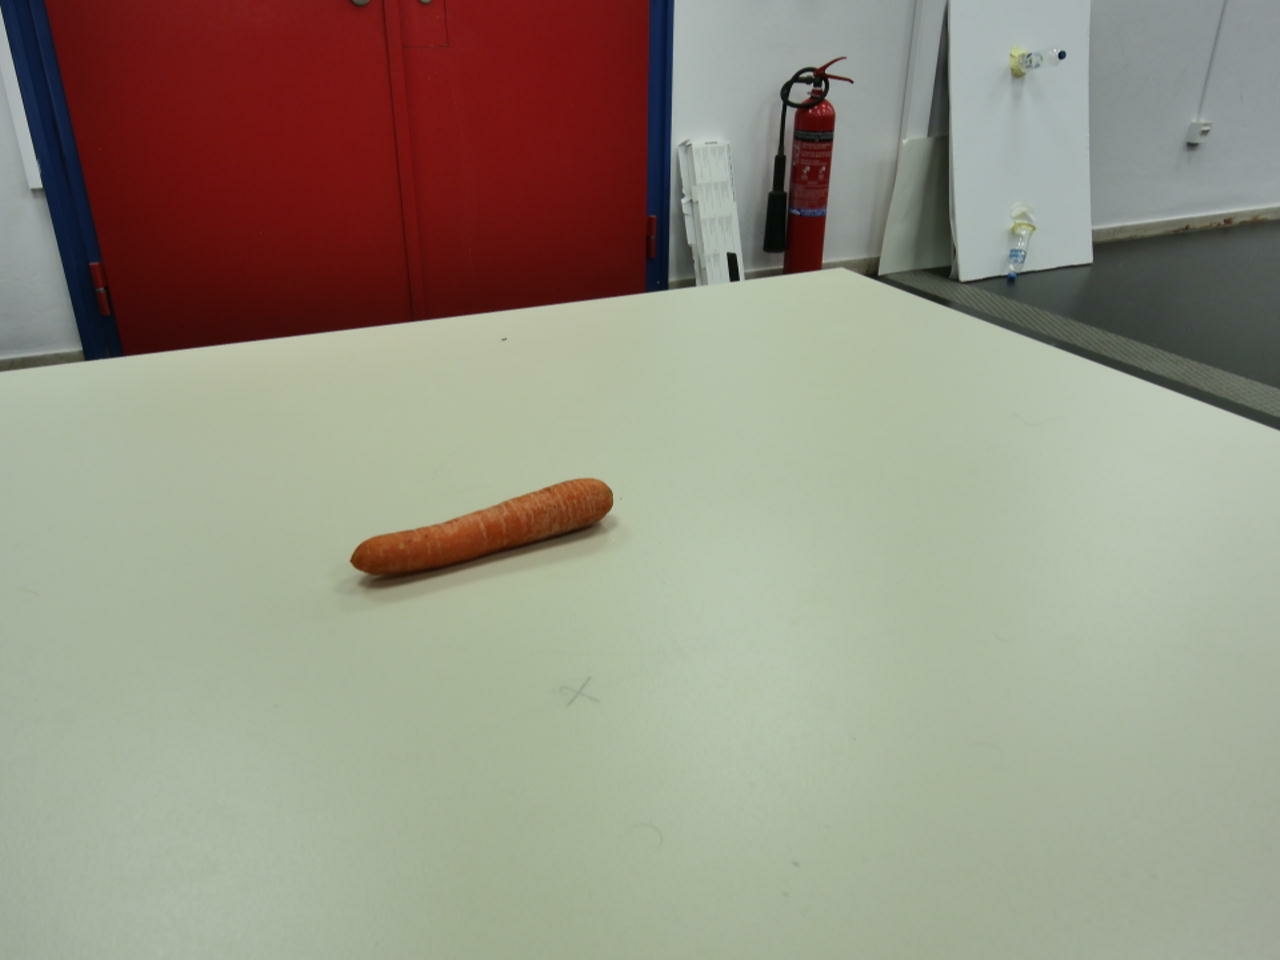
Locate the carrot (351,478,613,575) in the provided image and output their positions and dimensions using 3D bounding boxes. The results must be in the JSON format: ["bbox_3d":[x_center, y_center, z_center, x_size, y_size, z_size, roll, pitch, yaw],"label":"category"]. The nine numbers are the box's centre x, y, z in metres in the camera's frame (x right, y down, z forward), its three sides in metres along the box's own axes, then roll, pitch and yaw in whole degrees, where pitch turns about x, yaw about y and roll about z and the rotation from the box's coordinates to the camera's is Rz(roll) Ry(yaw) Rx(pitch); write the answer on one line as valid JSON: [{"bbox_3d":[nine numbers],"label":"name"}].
[{"bbox_3d":[-0.066,0.020,0.446,0.122,0.023,0.024,-13,27,-26],"label":"carrot"}]
